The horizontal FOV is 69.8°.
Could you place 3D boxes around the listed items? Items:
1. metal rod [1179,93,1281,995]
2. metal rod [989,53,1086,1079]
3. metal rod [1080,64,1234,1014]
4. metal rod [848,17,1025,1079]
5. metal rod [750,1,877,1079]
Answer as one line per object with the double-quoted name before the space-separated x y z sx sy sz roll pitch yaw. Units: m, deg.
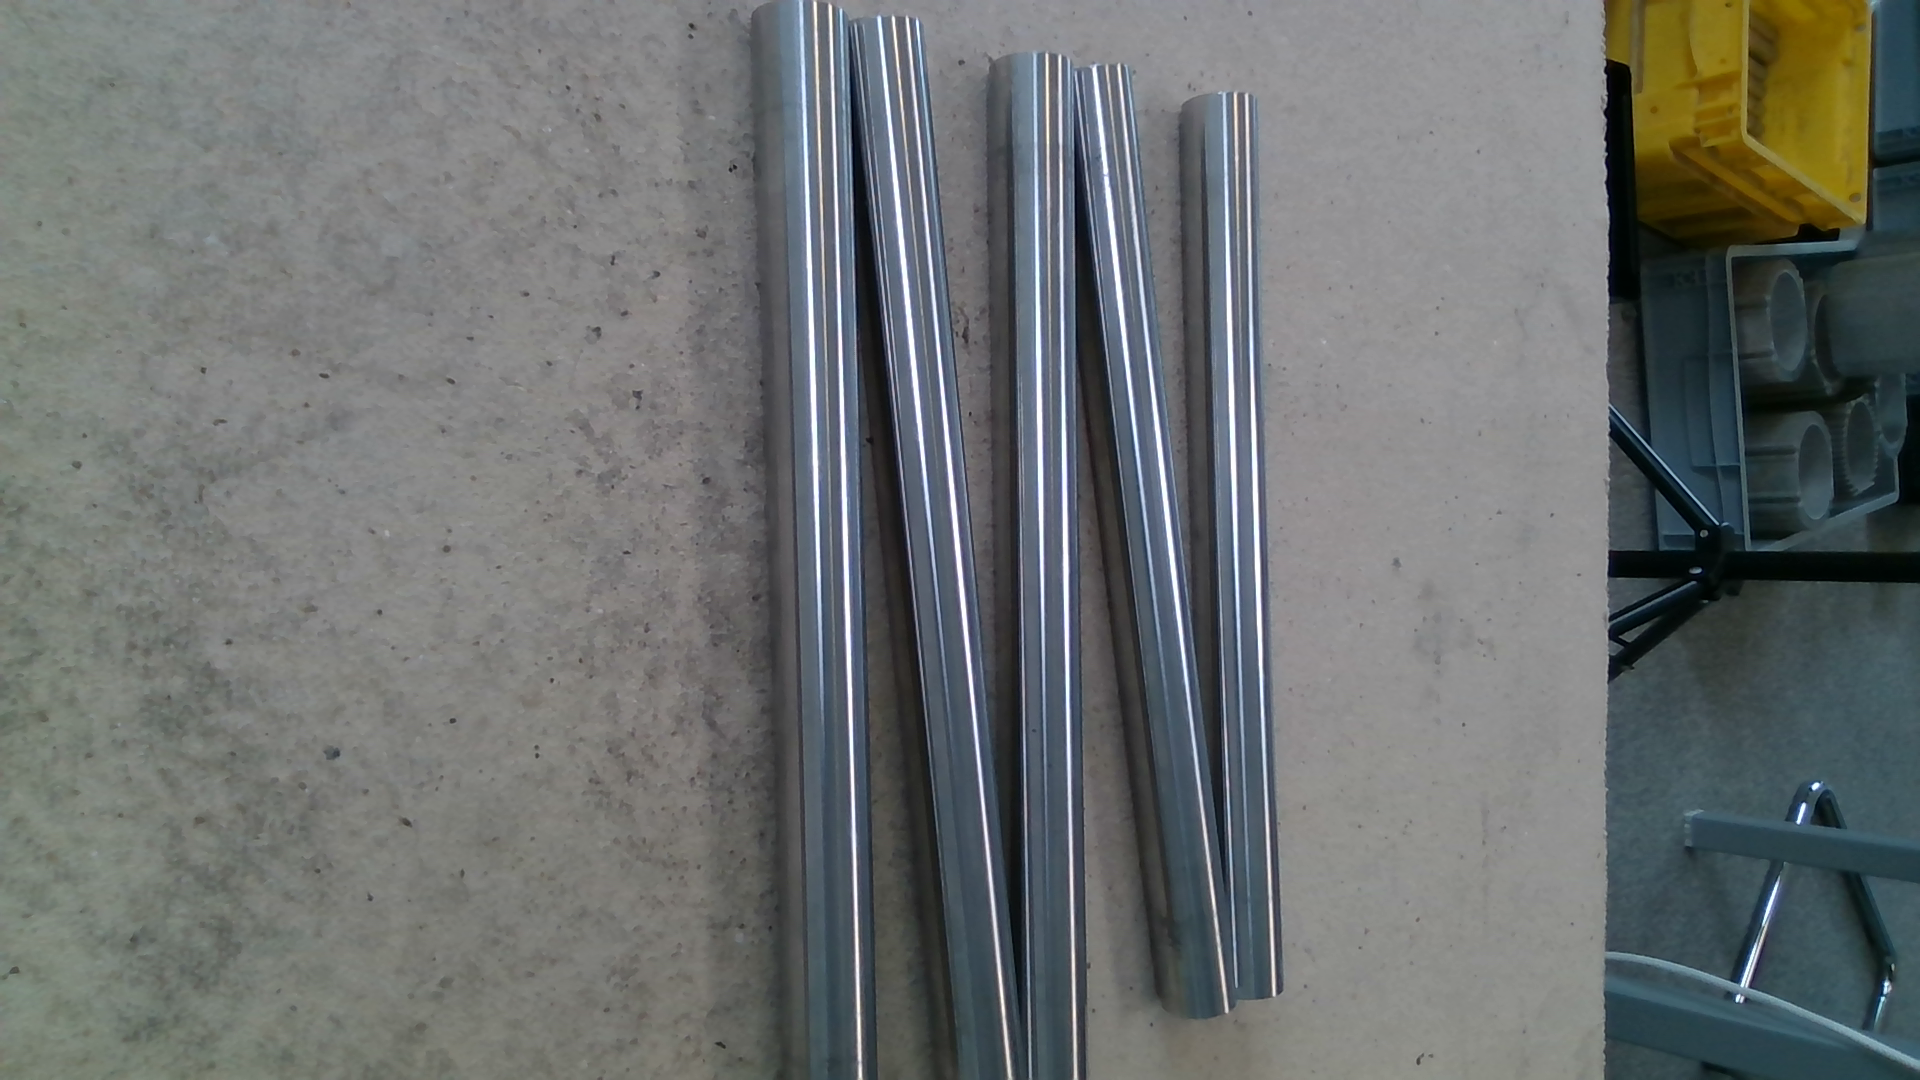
"metal rod" 0.092 0.003 0.469 0.025 0.025 0.300 -4 93 -40
"metal rod" 0.023 0.010 0.411 0.025 0.025 0.300 -2 91 -40
"metal rod" 0.059 0.004 0.442 0.025 0.025 0.300 -13 98 -39
"metal rod" -0.008 0.011 0.385 0.025 0.025 0.300 -10 96 -40
"metal rod" -0.038 0.015 0.360 0.025 0.025 0.300 -3 92 -40
